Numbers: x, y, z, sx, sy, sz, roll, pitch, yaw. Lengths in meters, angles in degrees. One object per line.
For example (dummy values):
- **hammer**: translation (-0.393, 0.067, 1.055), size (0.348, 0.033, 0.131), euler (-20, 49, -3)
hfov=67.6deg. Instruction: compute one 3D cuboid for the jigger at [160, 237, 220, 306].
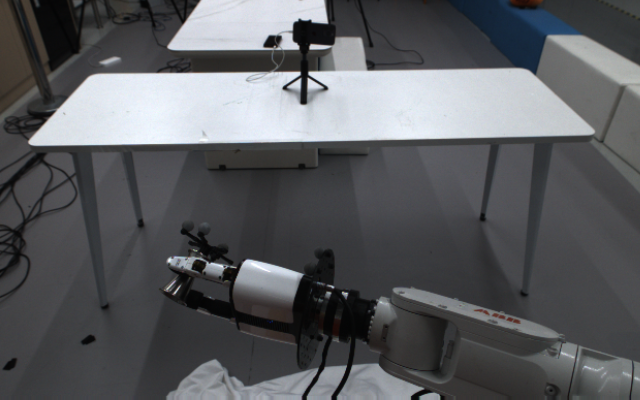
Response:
- **jigger**: translation (-0.186, 0.104, 0.671), size (0.043, 0.043, 0.071), euler (19, 62, 23)
